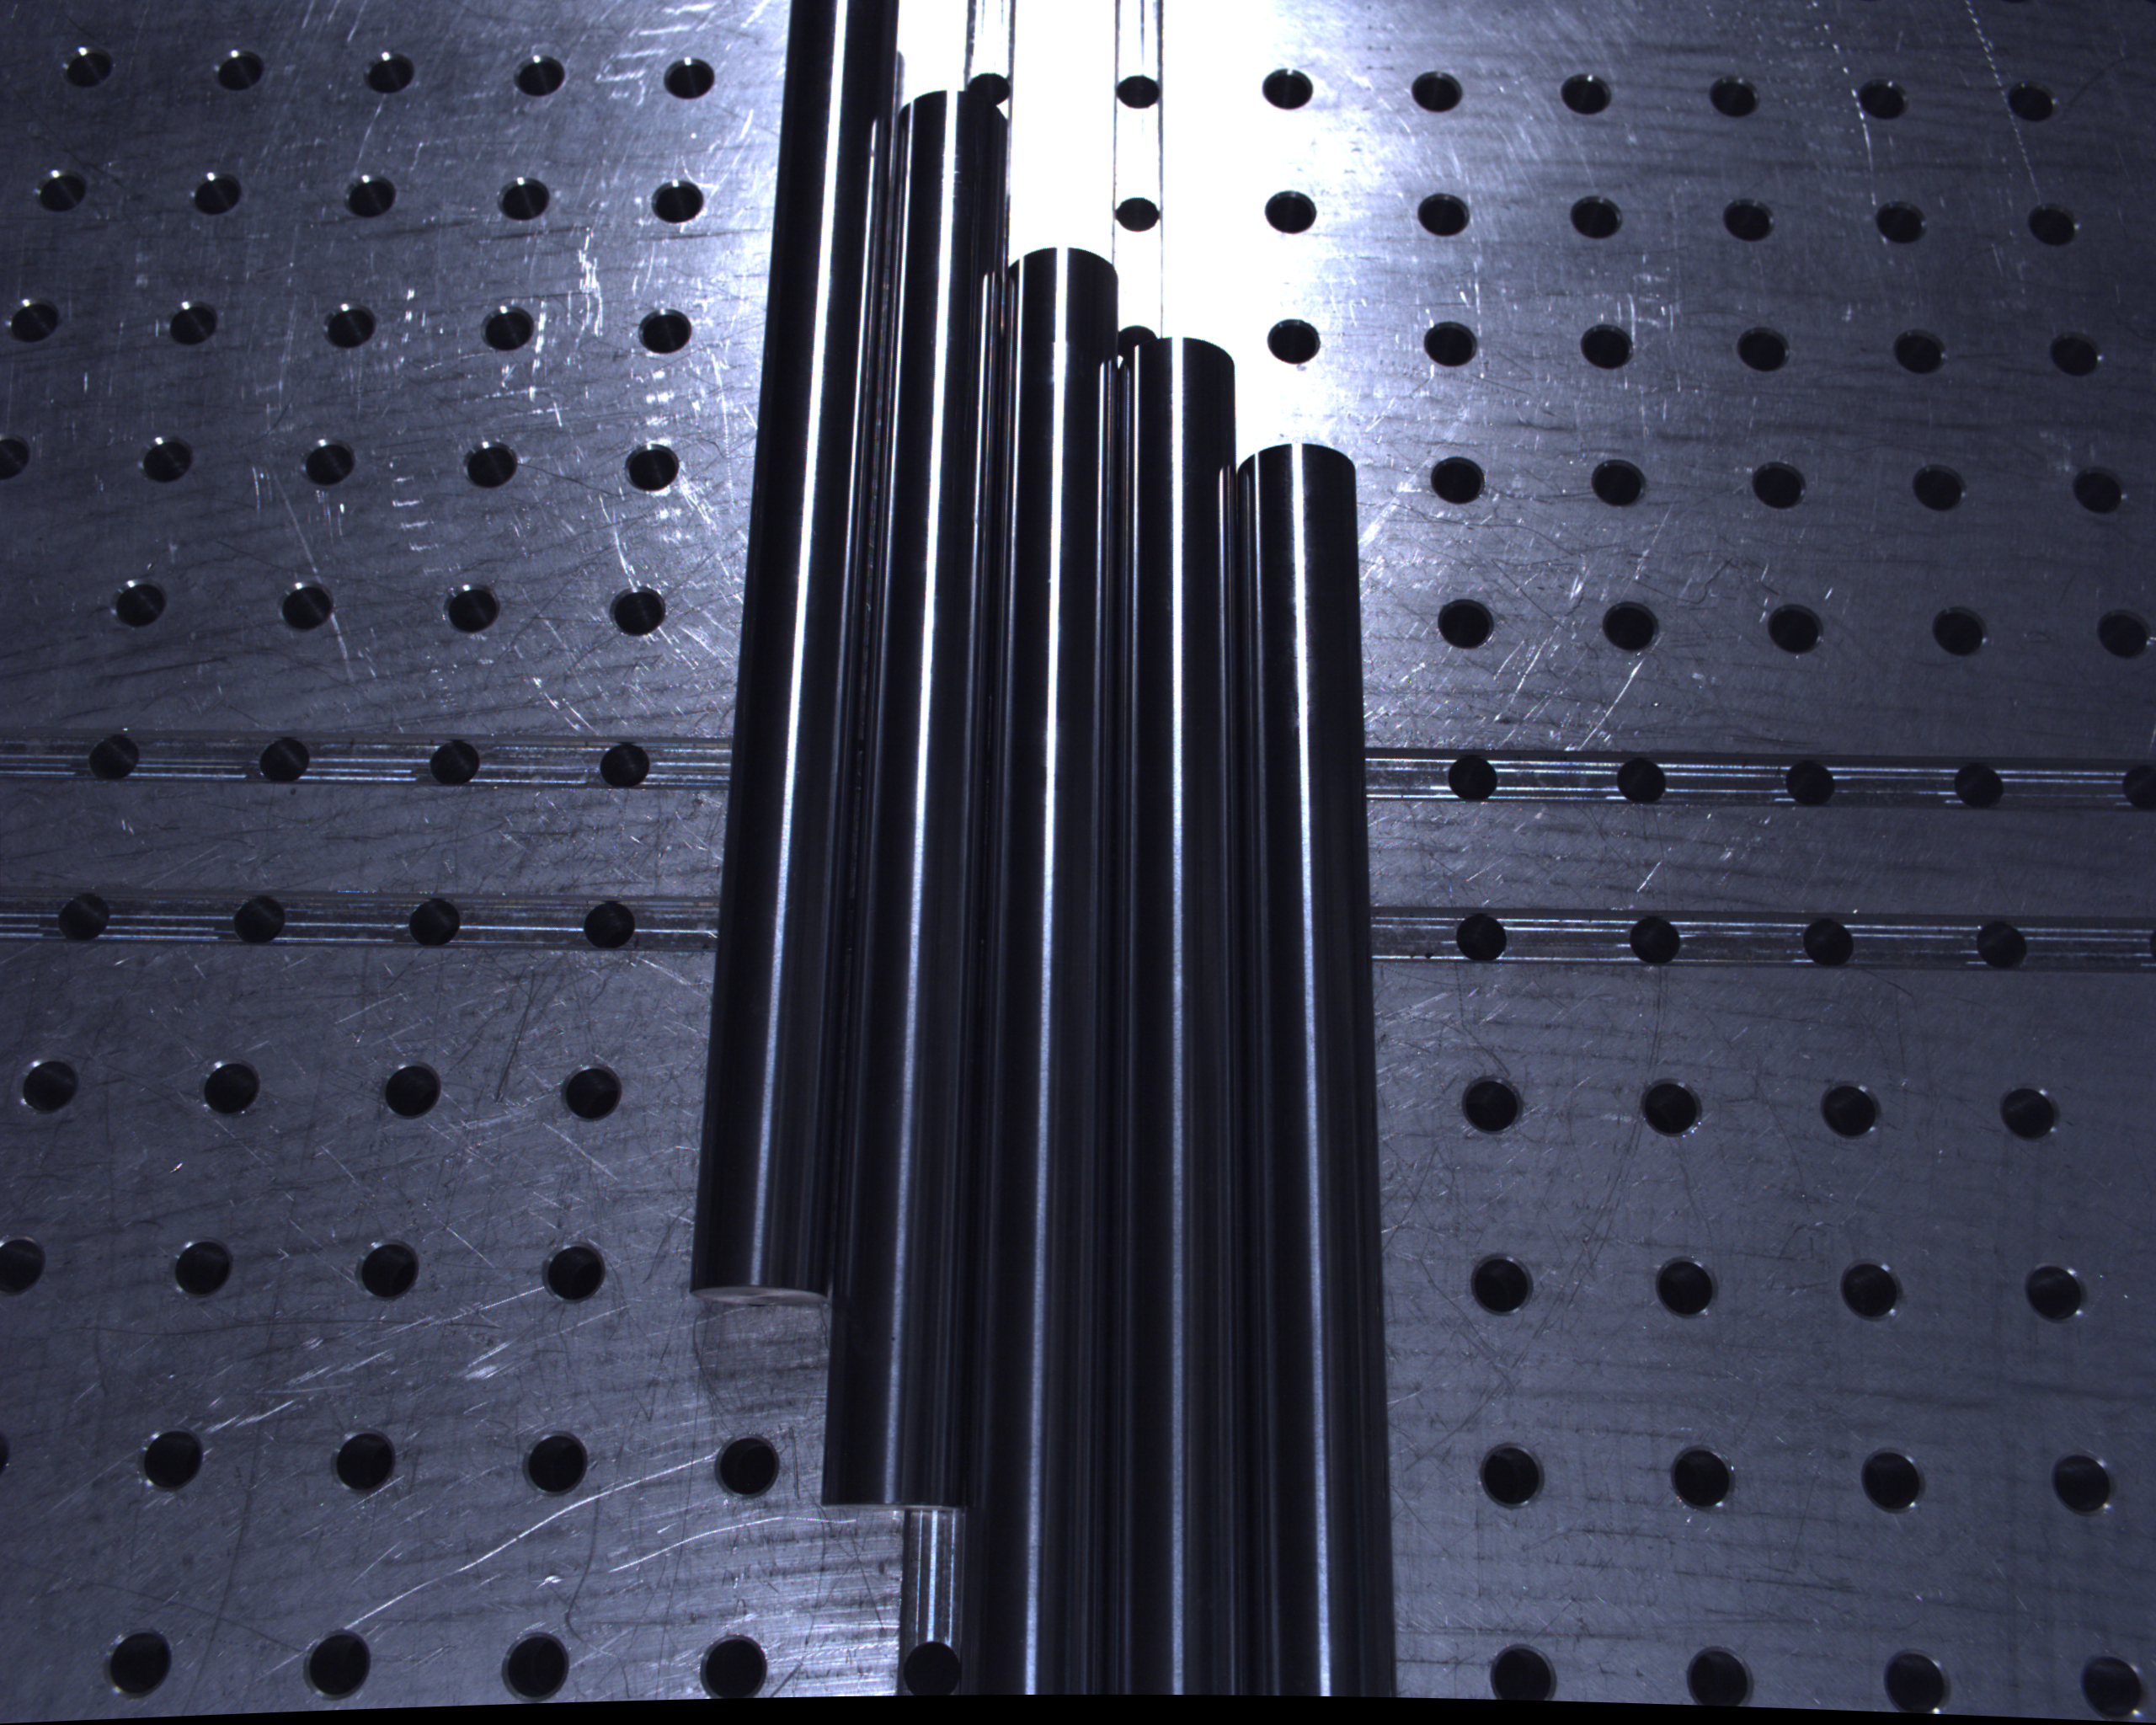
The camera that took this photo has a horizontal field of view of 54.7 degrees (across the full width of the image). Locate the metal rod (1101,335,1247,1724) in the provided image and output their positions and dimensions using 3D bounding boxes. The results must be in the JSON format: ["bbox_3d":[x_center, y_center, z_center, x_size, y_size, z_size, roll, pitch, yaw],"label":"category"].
[{"bbox_3d":[0.019,0.033,0.399,0.025,0.025,0.299,1,70,0],"label":"metal rod"}]

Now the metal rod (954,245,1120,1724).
[{"bbox_3d":[-0.006,0.012,0.406,0.025,0.025,0.299,1,70,0],"label":"metal rod"}]

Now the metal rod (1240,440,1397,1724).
[{"bbox_3d":[0.044,0.057,0.390,0.025,0.025,0.299,1,70,0],"label":"metal rod"}]

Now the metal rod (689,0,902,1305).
[{"bbox_3d":[-0.056,-0.061,0.433,0.025,0.025,0.299,1,70,0],"label":"metal rod"}]

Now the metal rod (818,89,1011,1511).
[{"bbox_3d":[-0.030,-0.026,0.420,0.025,0.025,0.299,1,70,0],"label":"metal rod"}]
